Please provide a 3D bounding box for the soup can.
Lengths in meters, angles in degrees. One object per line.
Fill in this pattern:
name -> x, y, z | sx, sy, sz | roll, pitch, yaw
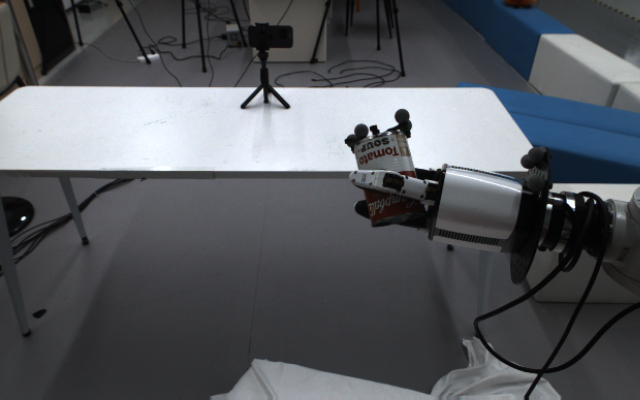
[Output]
soup can -> 0.087, -0.026, 0.589 | 0.067, 0.067, 0.101 | -11, 80, -19
